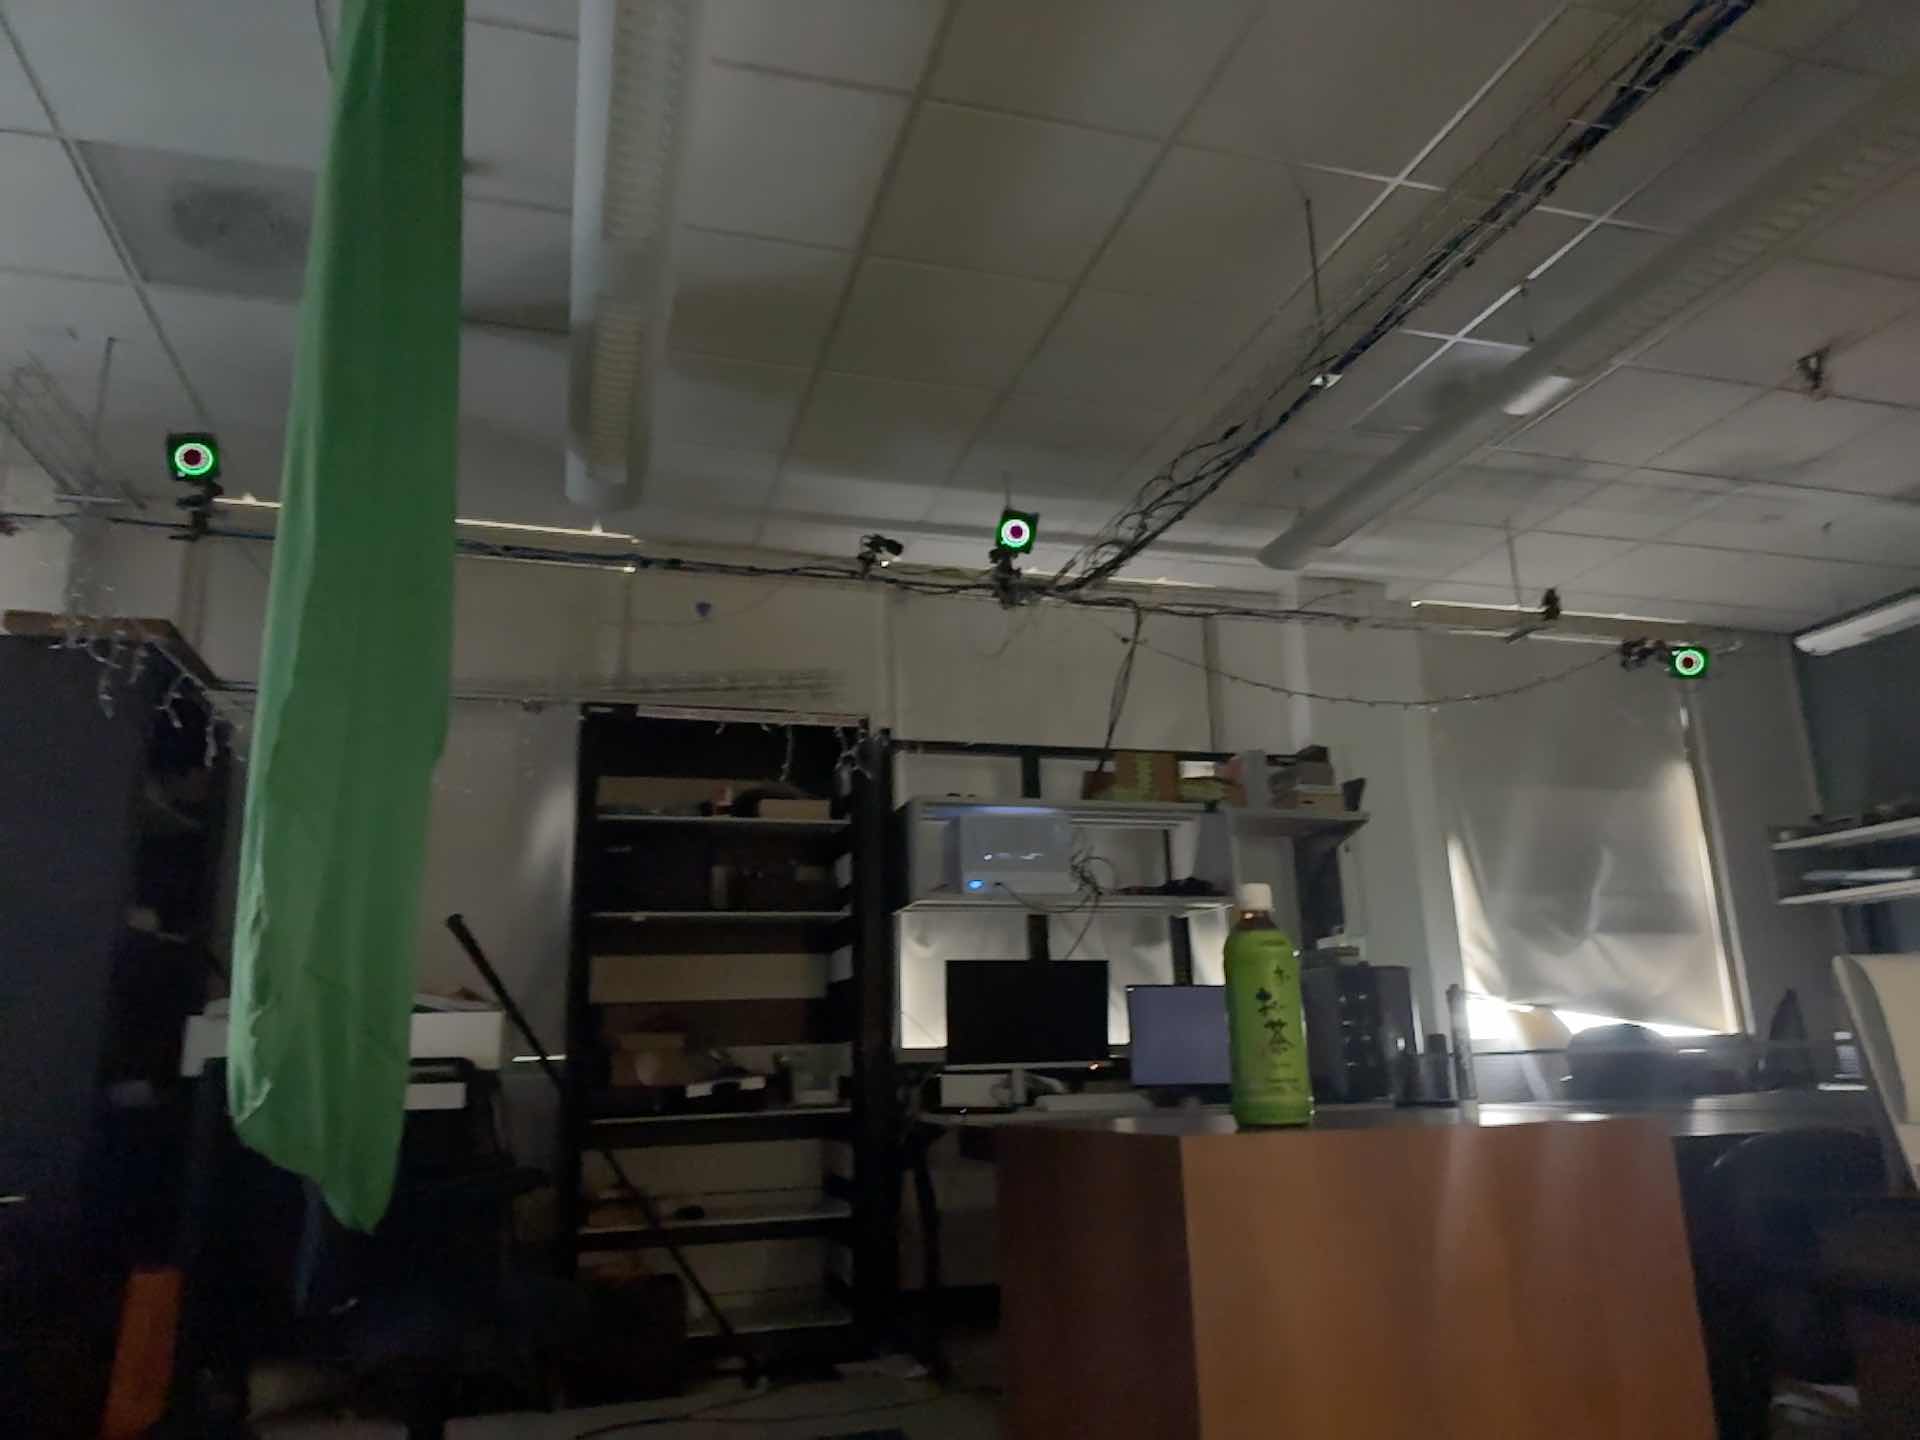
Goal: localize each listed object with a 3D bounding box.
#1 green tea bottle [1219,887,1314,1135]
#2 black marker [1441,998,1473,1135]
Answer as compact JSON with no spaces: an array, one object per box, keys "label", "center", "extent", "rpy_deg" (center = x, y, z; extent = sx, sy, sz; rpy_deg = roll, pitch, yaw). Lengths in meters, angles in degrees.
[{"label":"green tea bottle","center":[0.265,0.254,1.182],"extent":[0.073,0.212,0.073],"rpy_deg":[-3,-15,-1]},{"label":"black marker","center":[0.457,0.318,1.237],"extent":[0.020,0.121,0.020],"rpy_deg":[1,-14,0]}]
